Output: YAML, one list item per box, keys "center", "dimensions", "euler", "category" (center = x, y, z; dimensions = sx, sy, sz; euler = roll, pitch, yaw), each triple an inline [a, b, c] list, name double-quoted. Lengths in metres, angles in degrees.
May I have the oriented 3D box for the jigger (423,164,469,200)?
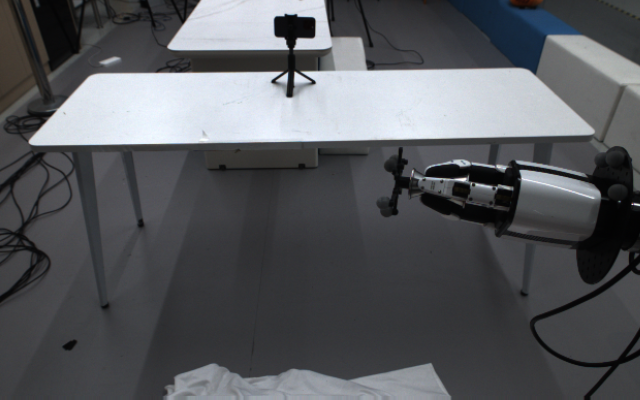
- center: [0.153, -0.020, 0.598]
  dimensions: [0.071, 0.043, 0.043]
  euler: [8, 35, 16]
  category: "jigger"
